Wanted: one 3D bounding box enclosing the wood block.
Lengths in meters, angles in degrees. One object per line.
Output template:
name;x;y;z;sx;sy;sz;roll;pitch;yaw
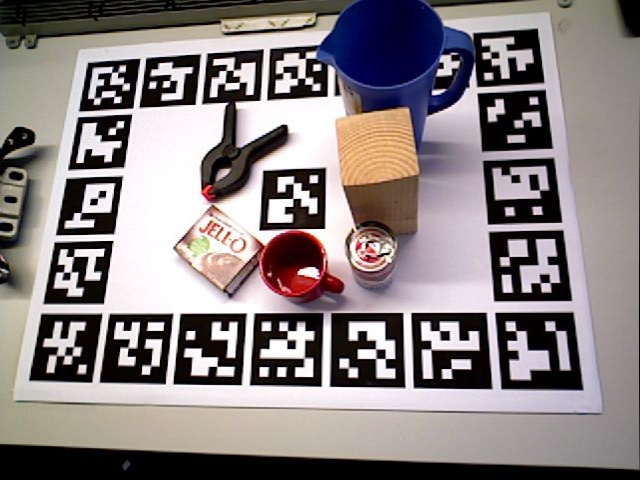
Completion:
wood block;0.080;-0.071;0.691;0.090;0.208;0.090;-2;70;4

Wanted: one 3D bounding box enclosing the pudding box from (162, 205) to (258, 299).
pudding box;-0.161;0.018;0.796;0.114;0.039;0.089;37;84;19

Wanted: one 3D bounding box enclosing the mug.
mug;-0.026;0.054;0.736;0.117;0.082;0.092;36;77;19

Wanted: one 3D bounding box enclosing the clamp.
clamp;-0.131;-0.132;0.847;0.122;0.037;0.164;30;79;10

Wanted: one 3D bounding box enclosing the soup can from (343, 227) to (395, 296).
soup can;0.065;0.032;0.716;0.068;0.103;0.067;-3;72;8

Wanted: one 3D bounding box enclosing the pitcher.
pitcher;0.108;-0.191;0.710;0.189;0.244;0.132;-1;68;11
